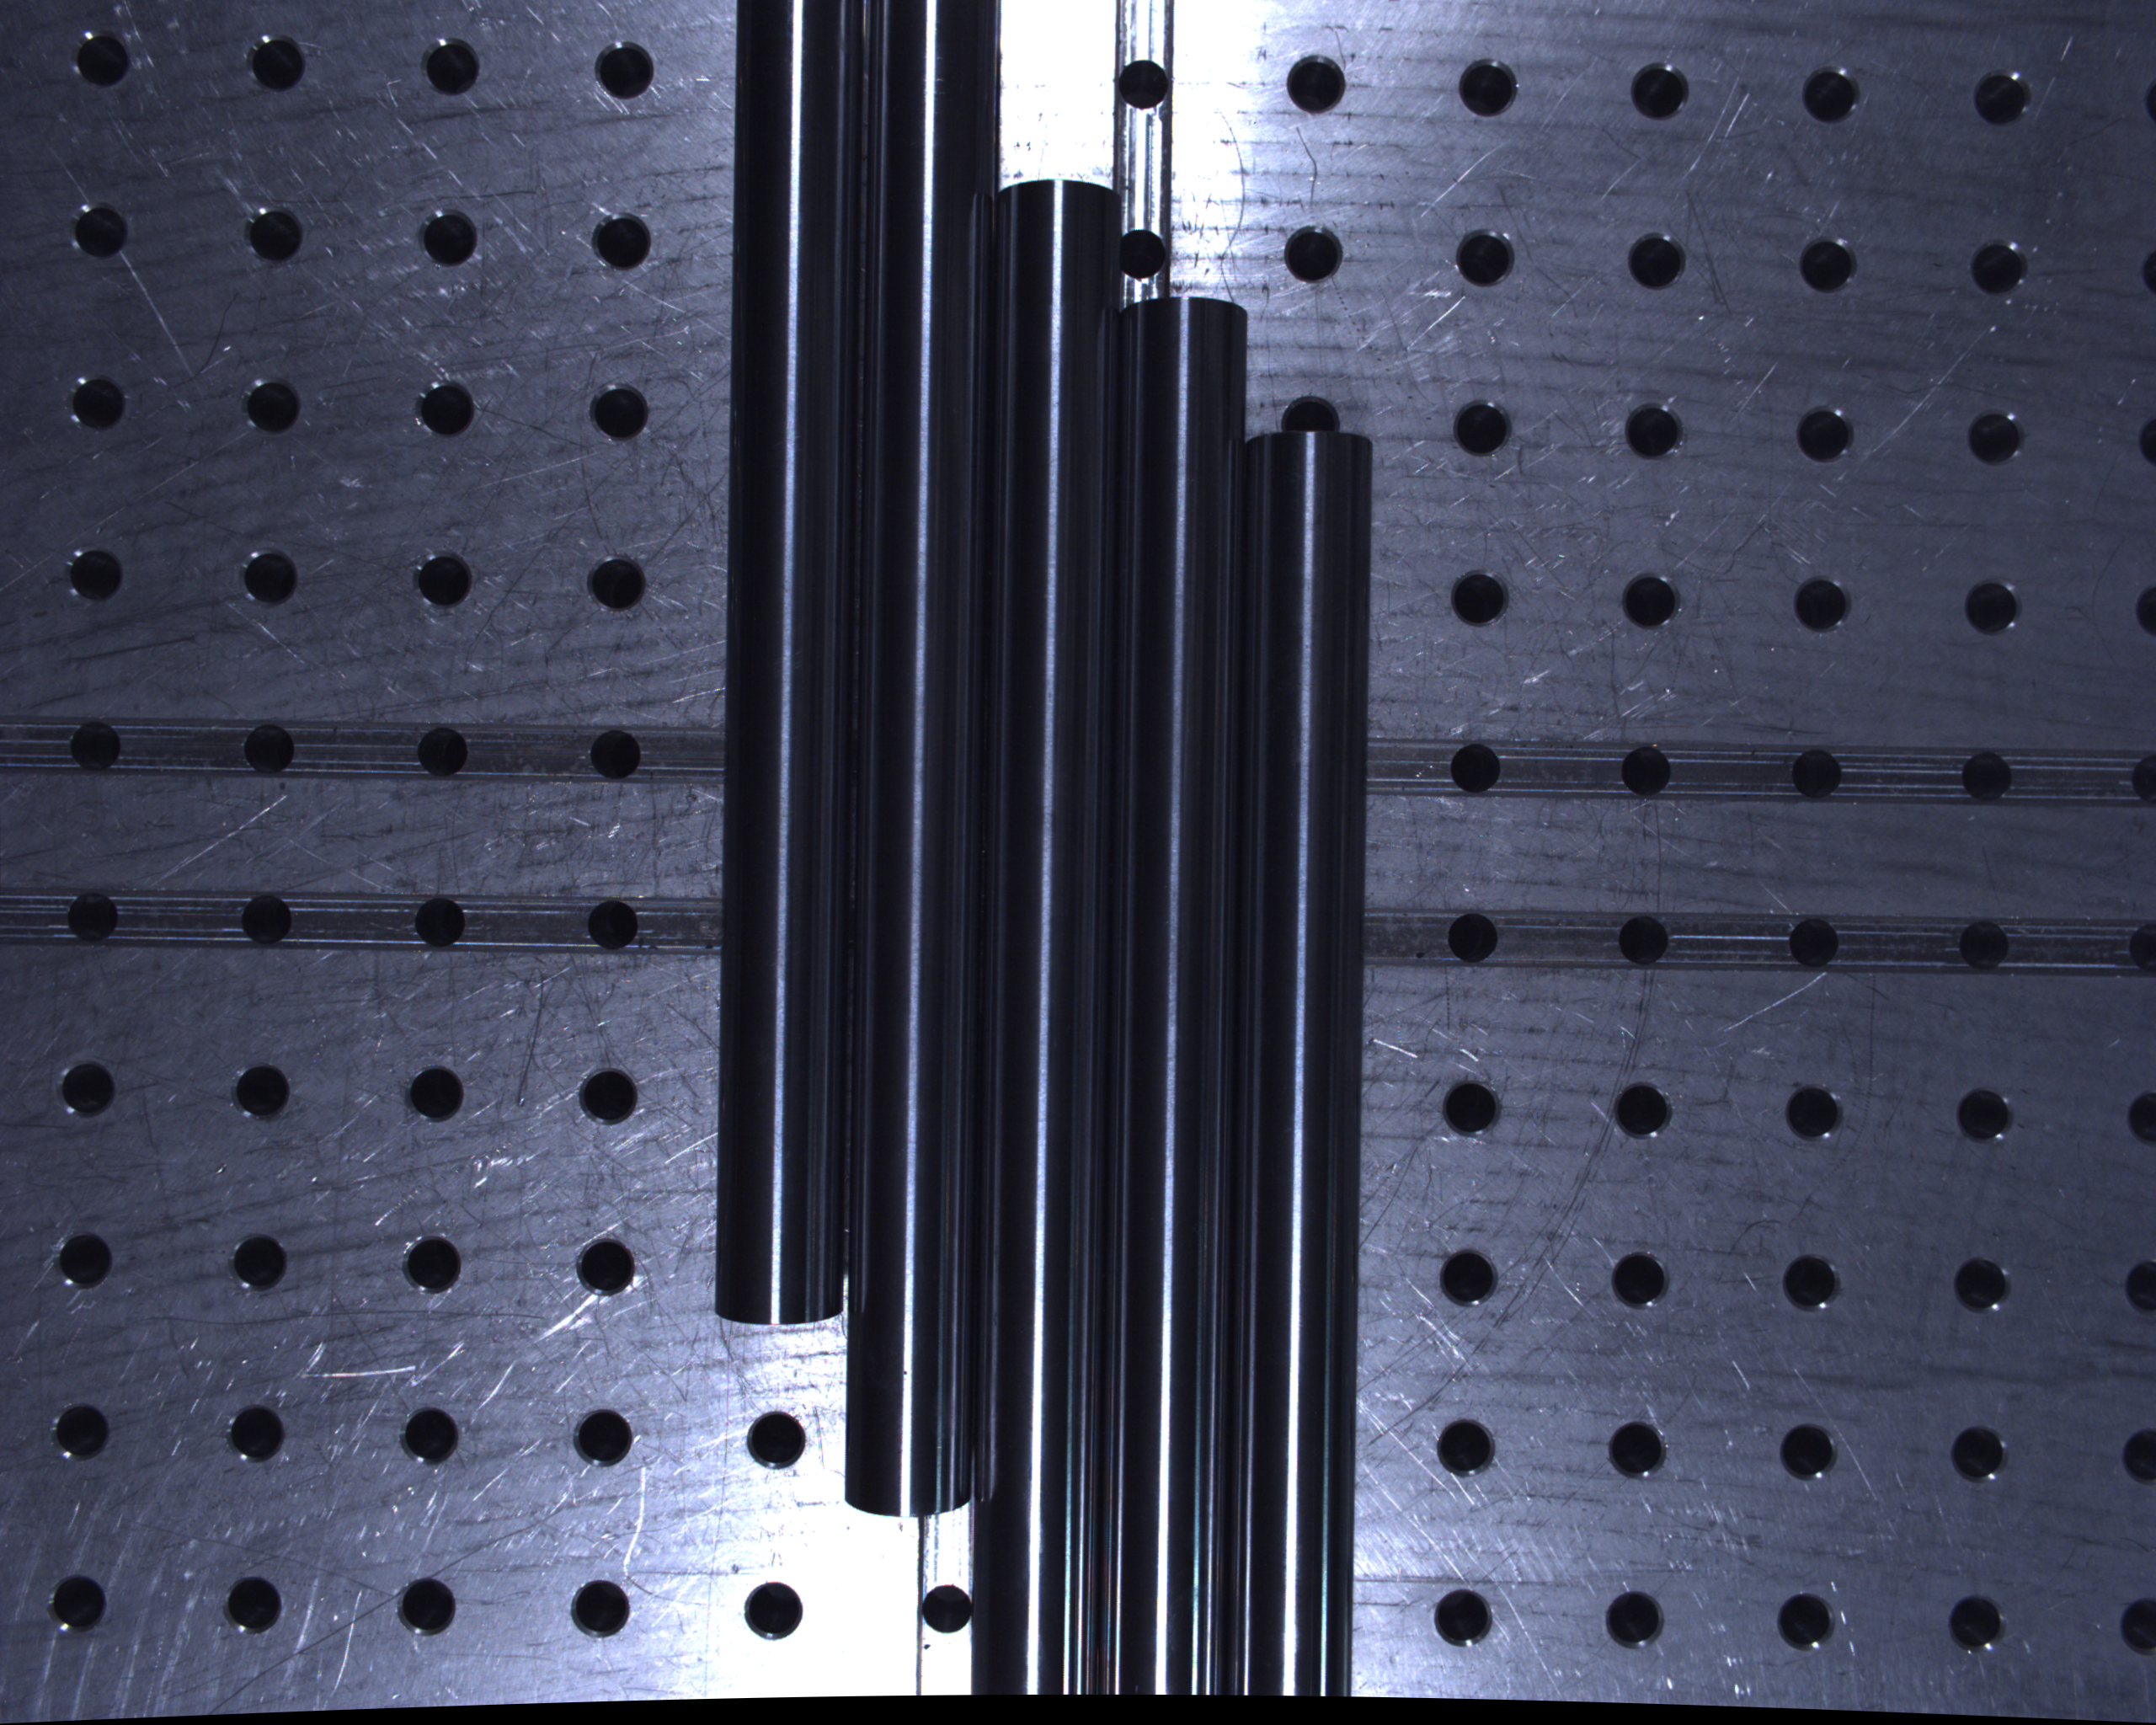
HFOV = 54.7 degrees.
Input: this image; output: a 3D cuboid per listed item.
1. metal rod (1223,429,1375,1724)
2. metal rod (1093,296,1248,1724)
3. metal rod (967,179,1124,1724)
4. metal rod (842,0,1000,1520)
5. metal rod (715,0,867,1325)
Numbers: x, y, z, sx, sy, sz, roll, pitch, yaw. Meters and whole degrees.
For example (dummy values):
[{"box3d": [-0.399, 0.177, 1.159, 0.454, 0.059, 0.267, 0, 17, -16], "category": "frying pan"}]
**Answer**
[{"box3d": [0.043, 0.066, 0.413, 0.025, 0.025, 0.298, 1, 90, -1], "category": "metal rod"}, {"box3d": [0.018, 0.040, 0.413, 0.025, 0.025, 0.298, 1, 90, -1], "category": "metal rod"}, {"box3d": [-0.006, 0.018, 0.413, 0.025, 0.025, 0.298, 1, 90, -1], "category": "metal rod"}, {"box3d": [-0.031, -0.023, 0.412, 0.025, 0.025, 0.298, 1, 90, -1], "category": "metal rod"}, {"box3d": [-0.056, -0.060, 0.412, 0.025, 0.025, 0.298, 1, 90, -1], "category": "metal rod"}]
